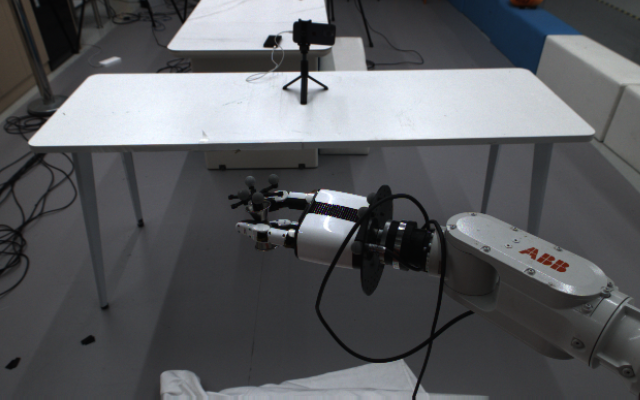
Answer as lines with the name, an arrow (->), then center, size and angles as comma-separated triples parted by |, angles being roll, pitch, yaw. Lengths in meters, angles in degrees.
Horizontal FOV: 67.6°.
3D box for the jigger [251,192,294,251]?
jigger -> -0.085, 0.037, 0.749 | 0.043, 0.071, 0.043 | -10, 24, 5
